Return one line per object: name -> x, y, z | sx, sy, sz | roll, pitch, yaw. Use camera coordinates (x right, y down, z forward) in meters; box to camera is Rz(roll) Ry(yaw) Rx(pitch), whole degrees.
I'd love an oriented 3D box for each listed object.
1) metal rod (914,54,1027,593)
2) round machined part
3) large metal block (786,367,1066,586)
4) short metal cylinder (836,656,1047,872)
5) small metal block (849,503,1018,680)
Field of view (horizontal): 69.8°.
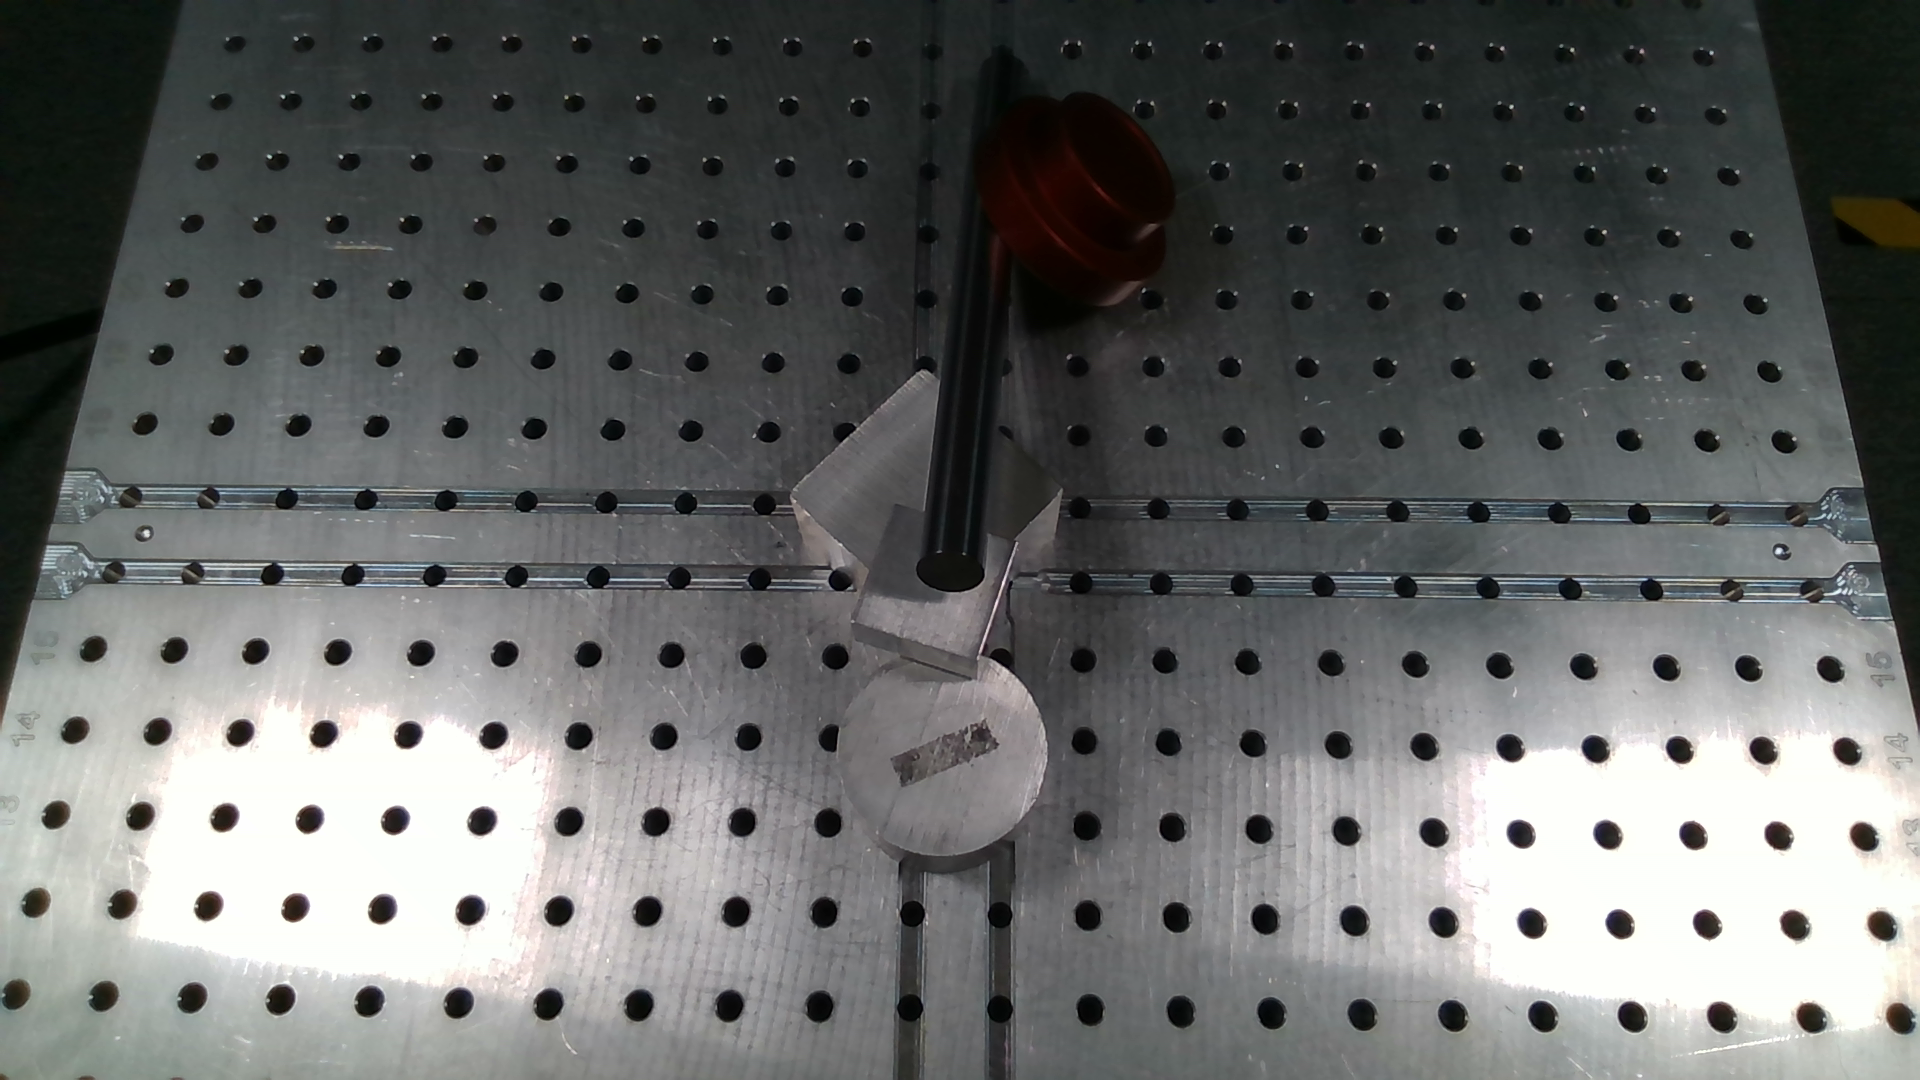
metal rod -> 0.009, -0.107, 0.583 | 0.025, 0.025, 0.299 | 5, 53, 2
round machined part -> 0.057, -0.157, 0.609 | 0.098, 0.042, 0.098 | 23, 50, -30
large metal block -> -0.014, -0.011, 0.579 | 0.080, 0.050, 0.080 | 42, 75, 13
short metal cylinder -> -0.007, 0.088, 0.546 | 0.080, 0.050, 0.080 | 0, 70, 0
small metal block -> -0.010, 0.020, 0.528 | 0.050, 0.025, 0.050 | 17, 71, 6
